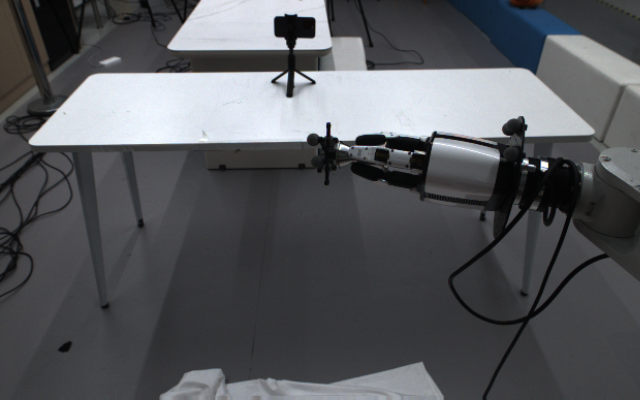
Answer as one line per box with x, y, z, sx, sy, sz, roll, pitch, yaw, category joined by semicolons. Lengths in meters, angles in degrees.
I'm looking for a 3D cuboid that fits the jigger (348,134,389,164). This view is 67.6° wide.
0.067;-0.067;0.676;0.071;0.043;0.043;3;34;17;jigger
